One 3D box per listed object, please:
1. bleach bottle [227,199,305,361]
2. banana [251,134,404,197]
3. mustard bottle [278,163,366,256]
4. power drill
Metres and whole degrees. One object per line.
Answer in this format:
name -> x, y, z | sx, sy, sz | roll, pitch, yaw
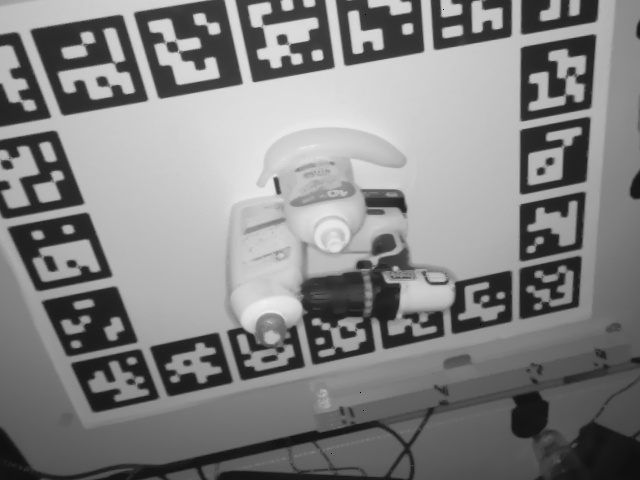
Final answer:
bleach bottle -> -0.057, 0.044, 0.812 | 0.103, 0.252, 0.067 | -7, 124, -4
banana -> 0.009, -0.098, 0.874 | 0.198, 0.039, 0.073 | -6, 117, -8
mustard bottle -> 0.003, -0.030, 0.811 | 0.096, 0.192, 0.058 | -9, 118, -2
power drill -> 0.054, 0.035, 0.829 | 0.185, 0.188, 0.057 | 2, 118, -8
